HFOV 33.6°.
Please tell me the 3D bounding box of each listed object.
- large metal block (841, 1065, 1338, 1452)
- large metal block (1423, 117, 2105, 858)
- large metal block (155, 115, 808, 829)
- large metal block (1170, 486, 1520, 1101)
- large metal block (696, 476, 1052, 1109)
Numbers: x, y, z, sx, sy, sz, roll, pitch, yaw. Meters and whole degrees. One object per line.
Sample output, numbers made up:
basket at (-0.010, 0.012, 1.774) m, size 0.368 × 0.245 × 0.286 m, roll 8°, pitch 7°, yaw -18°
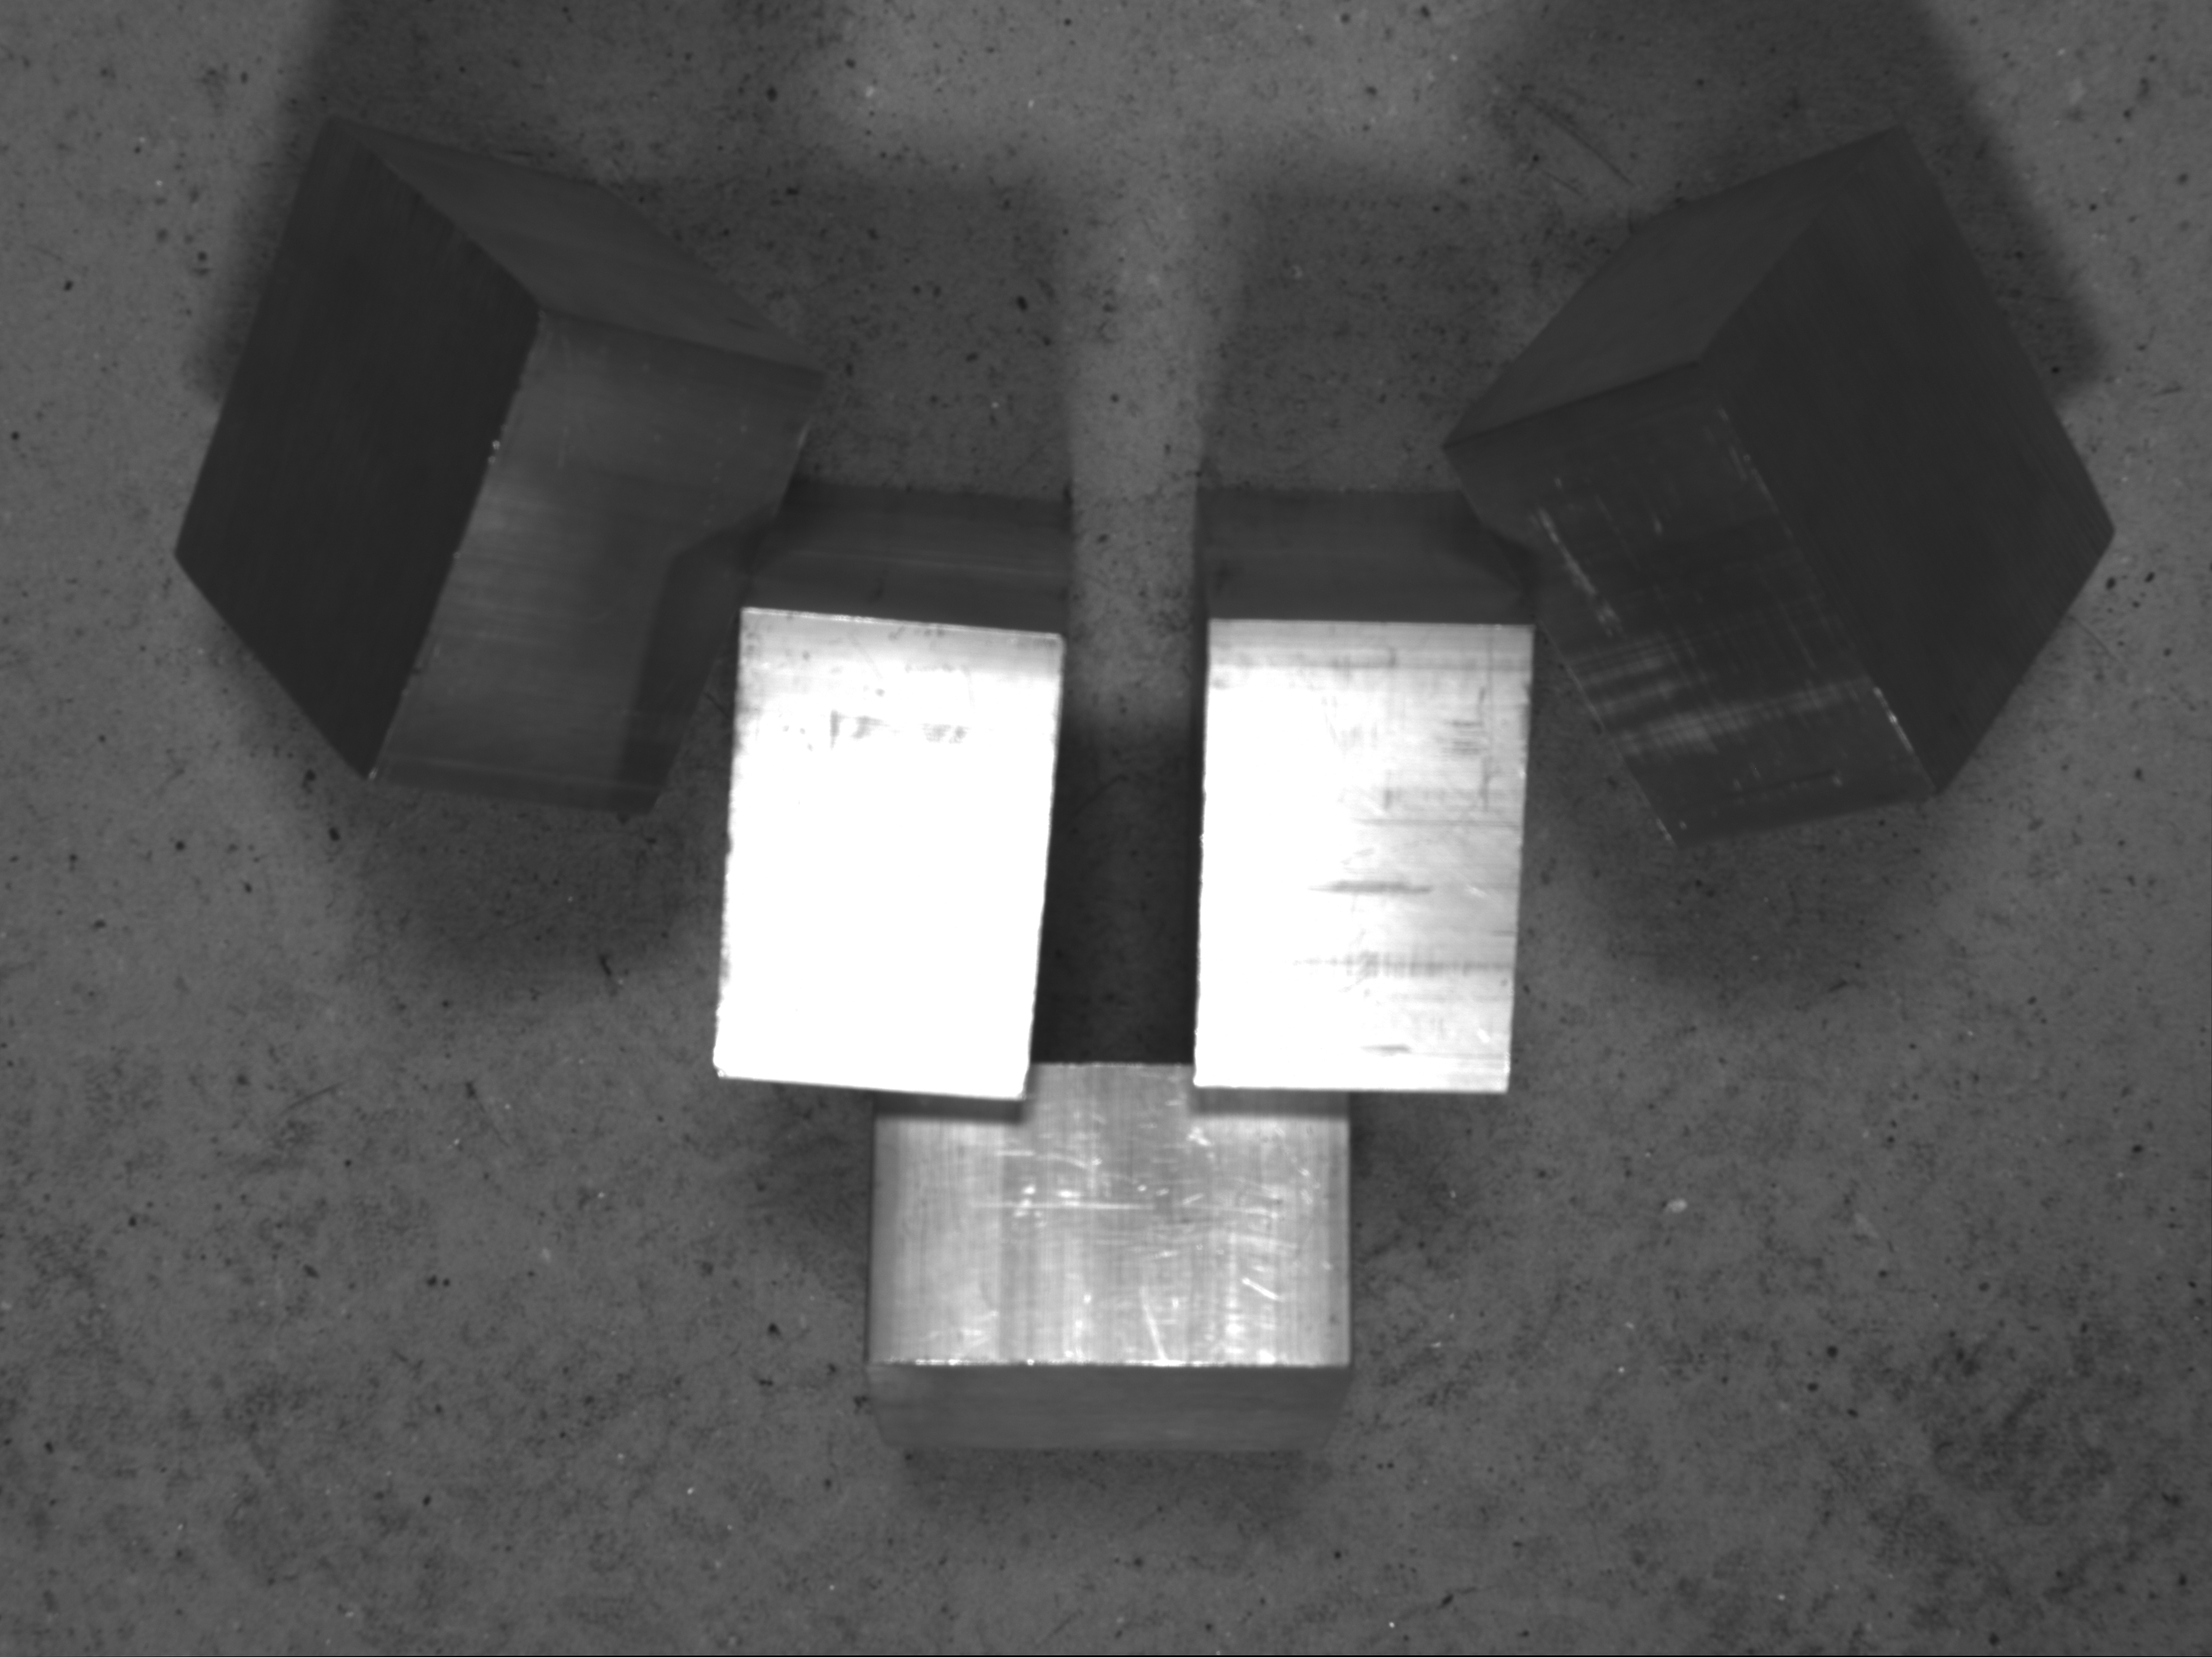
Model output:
large metal block at (-0.003, 0.076, 0.635) m, size 0.080 × 0.080 × 0.050 m, roll 1°, pitch 71°, yaw -1°
large metal block at (0.108, -0.055, 0.589) m, size 0.050 × 0.080 × 0.080 m, roll -15°, pitch 114°, yaw 45°
large metal block at (-0.101, -0.057, 0.583) m, size 0.050 × 0.080 × 0.080 m, roll 7°, pitch 114°, yaw -42°
large metal block at (0.037, -0.008, 0.612) m, size 0.050 × 0.080 × 0.080 m, roll 1°, pitch 110°, yaw -1°
large metal block at (-0.037, -0.008, 0.611) m, size 0.050 × 0.080 × 0.080 m, roll 5°, pitch 110°, yaw -2°
